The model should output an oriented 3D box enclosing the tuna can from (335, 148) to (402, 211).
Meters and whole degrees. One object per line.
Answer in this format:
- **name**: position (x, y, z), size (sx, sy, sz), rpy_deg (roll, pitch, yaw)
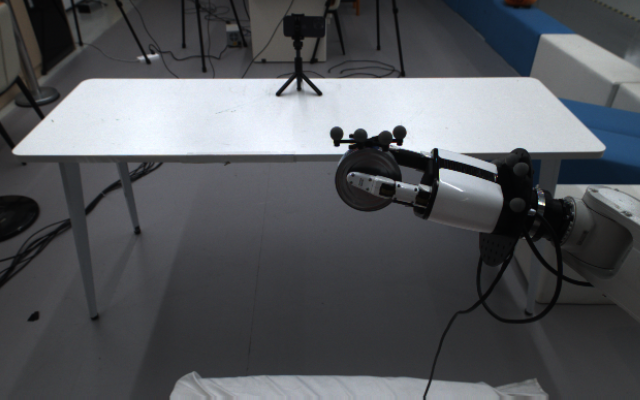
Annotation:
- **tuna can**: position (0.065, -0.031, 0.637), size (0.085, 0.085, 0.034), rpy_deg (4, 18, 3)
